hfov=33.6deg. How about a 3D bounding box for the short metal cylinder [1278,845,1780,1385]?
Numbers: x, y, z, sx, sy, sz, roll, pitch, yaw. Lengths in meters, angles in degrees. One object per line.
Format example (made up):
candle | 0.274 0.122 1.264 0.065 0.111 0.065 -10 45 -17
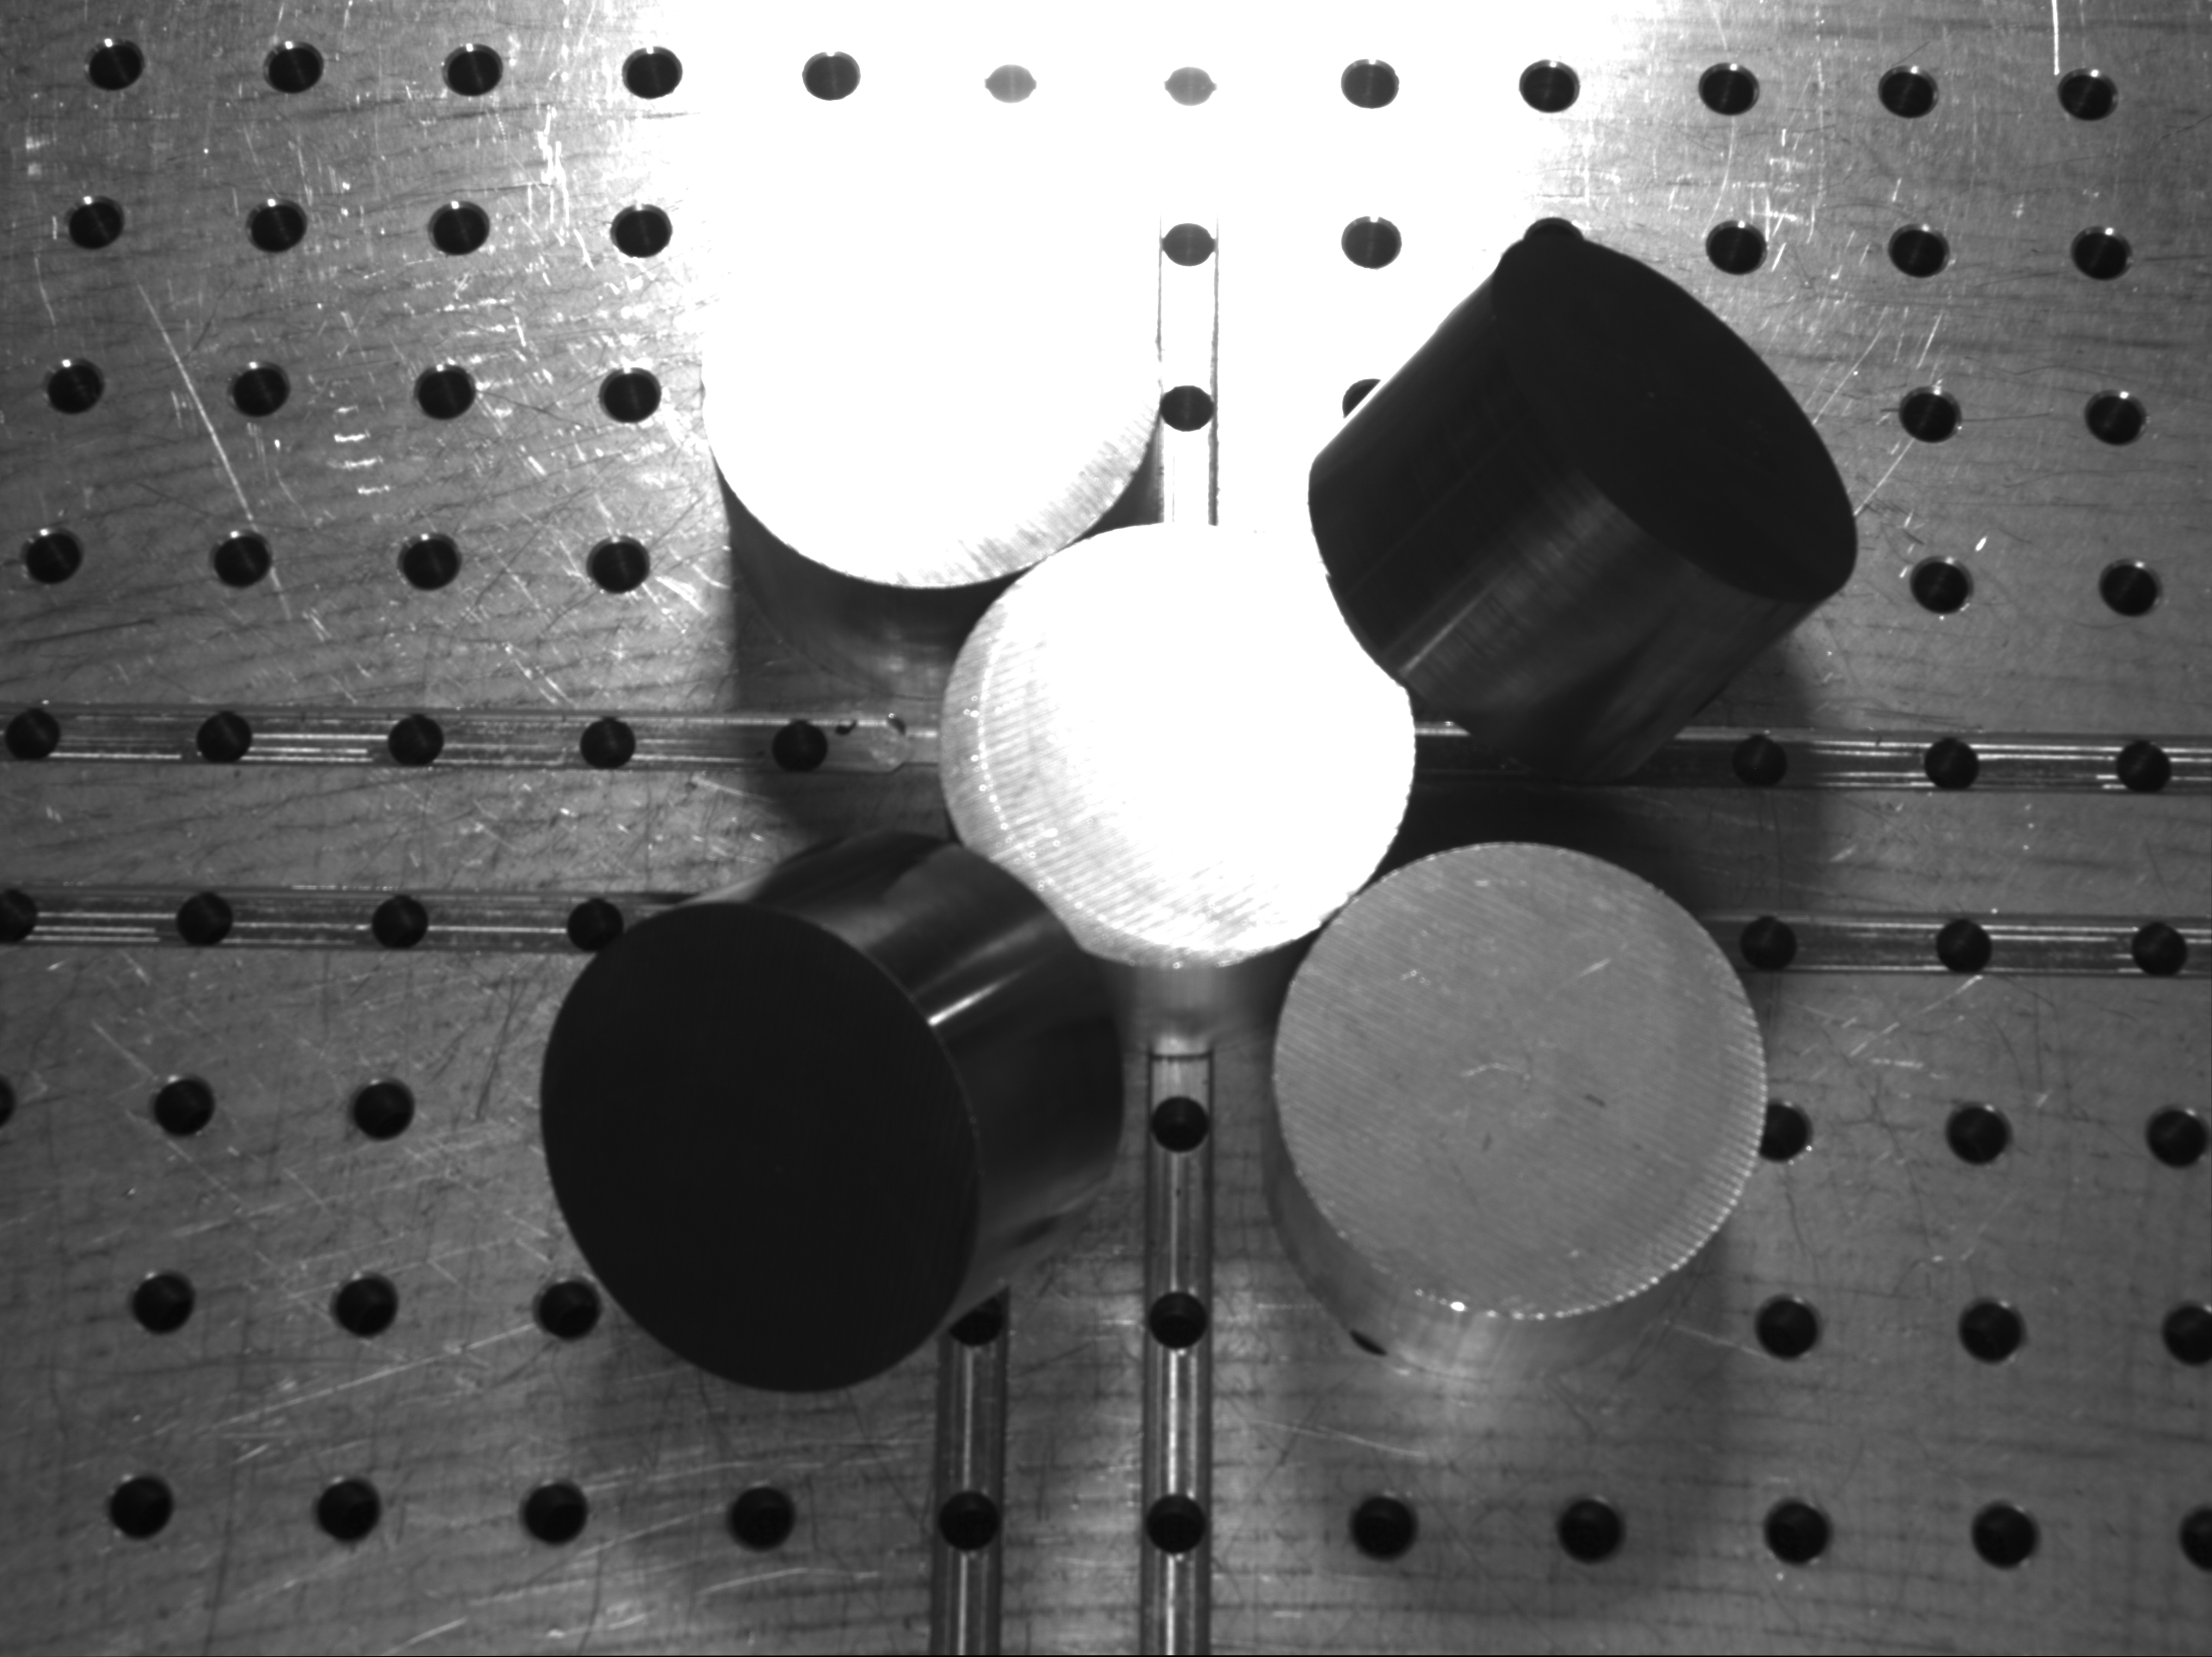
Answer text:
short metal cylinder | 0.069 0.049 0.616 0.080 0.050 0.080 0 70 0

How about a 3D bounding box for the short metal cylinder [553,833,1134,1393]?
short metal cylinder | -0.042 0.045 0.595 0.080 0.050 0.080 7 105 25

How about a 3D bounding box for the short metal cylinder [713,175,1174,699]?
short metal cylinder | -0.028 -0.070 0.659 0.080 0.050 0.080 0 70 0

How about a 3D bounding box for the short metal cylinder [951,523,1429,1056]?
short metal cylinder | 0.014 -0.006 0.636 0.080 0.050 0.080 0 70 0

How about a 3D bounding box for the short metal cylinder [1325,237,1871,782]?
short metal cylinder | 0.085 -0.055 0.633 0.080 0.050 0.080 26 40 -24
